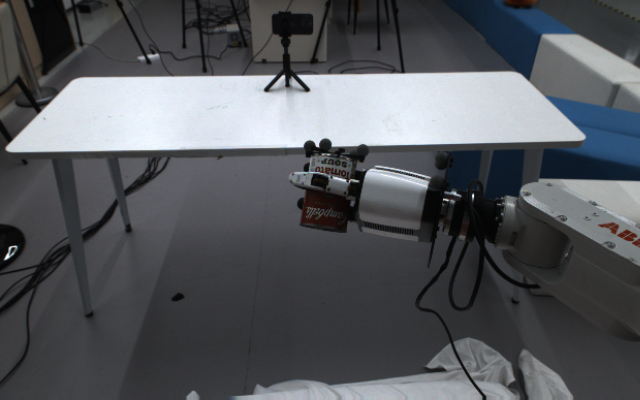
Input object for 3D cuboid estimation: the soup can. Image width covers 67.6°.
[{"bbox_3d":[0.013,-0.009,0.680,0.067,0.101,0.067,9,-6,1],"label":"soup can"}]
